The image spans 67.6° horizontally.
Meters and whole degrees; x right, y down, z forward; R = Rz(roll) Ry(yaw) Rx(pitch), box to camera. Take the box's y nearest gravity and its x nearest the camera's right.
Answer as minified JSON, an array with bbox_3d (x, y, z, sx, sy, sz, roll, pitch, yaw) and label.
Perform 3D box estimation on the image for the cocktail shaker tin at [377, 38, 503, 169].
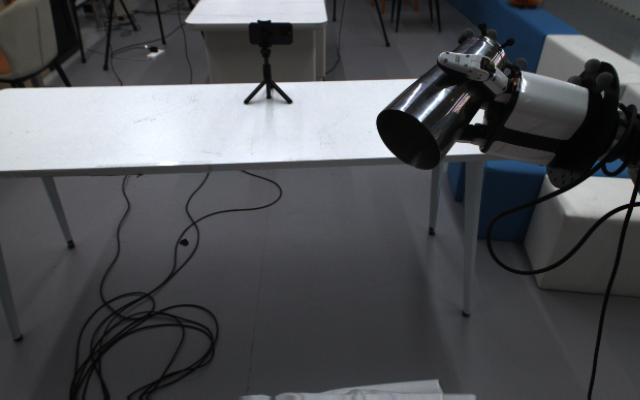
[{"bbox_3d":[0.158,-0.132,0.599,0.093,0.093,0.170,32,66,35],"label":"cocktail shaker tin"}]
